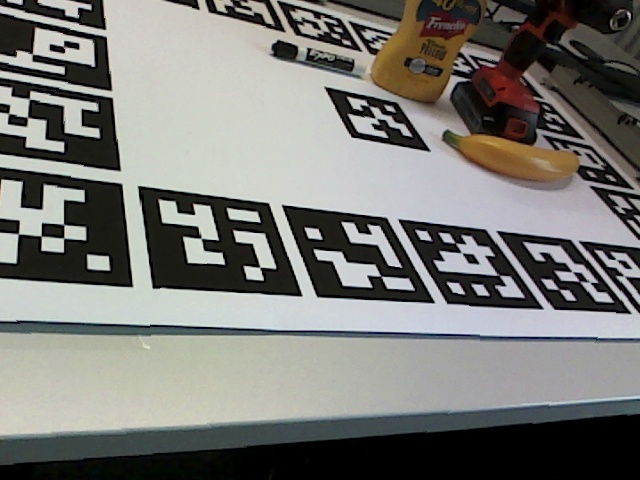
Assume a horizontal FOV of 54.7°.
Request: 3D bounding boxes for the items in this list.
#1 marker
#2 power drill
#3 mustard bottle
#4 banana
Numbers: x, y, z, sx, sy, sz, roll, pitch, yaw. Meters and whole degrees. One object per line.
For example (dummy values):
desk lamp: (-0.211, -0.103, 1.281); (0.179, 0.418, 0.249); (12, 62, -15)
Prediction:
marker: (-0.014, -0.202, 0.757); (0.120, 0.019, 0.020); (7, 43, -24)
power drill: (0.250, -0.201, 0.744); (0.057, 0.187, 0.185); (16, 37, -17)
mustard bottle: (0.133, -0.244, 0.752); (0.096, 0.191, 0.058); (14, 40, -18)
banana: (0.228, -0.073, 0.740); (0.196, 0.039, 0.074); (10, 43, -18)
